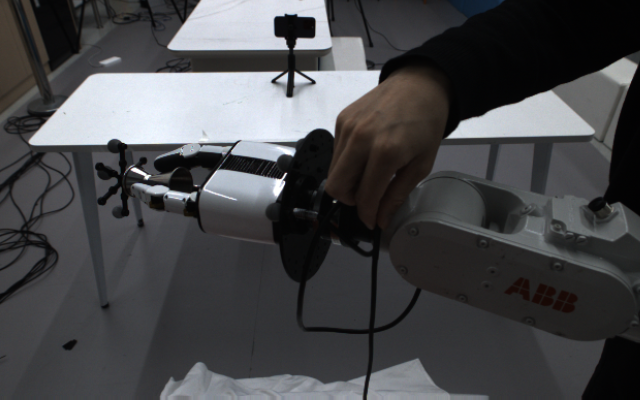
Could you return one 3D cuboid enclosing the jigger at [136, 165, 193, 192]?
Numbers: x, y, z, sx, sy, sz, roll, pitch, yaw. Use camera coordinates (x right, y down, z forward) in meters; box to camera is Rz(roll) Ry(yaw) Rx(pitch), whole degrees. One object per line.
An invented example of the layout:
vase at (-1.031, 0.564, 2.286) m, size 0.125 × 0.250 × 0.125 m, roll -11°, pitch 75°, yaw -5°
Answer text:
jigger at (-0.183, -0.022, 0.567) m, size 0.071 × 0.043 × 0.043 m, roll 6°, pitch 34°, yaw 21°
